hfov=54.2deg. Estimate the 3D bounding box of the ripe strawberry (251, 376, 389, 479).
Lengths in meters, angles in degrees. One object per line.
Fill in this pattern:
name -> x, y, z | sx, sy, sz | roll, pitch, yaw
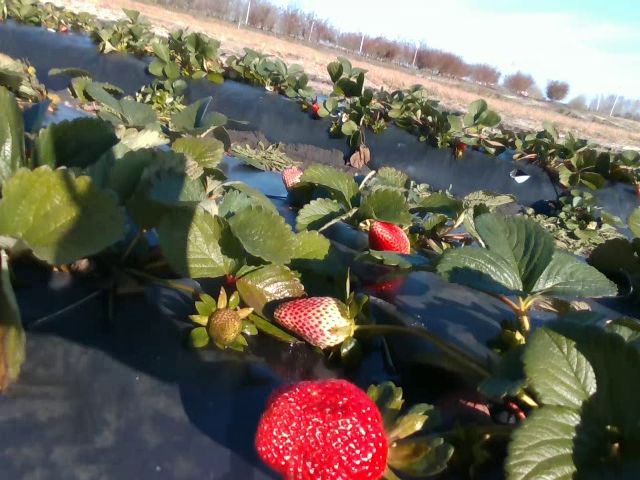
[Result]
ripe strawberry -> -0.003, 0.074, 0.233 | 0.058, 0.066, 0.061 | -28, -43, 18
